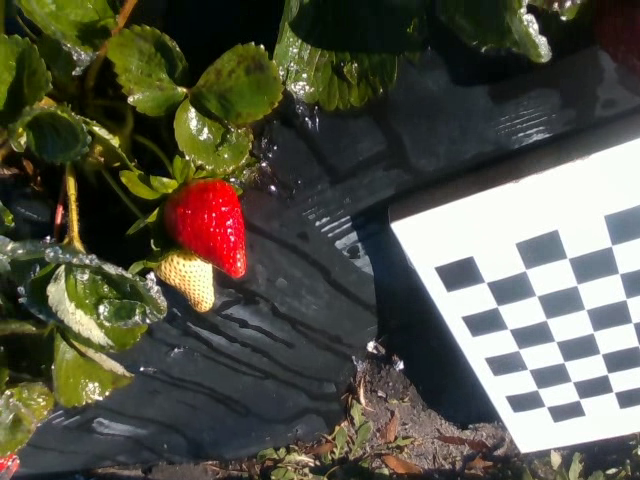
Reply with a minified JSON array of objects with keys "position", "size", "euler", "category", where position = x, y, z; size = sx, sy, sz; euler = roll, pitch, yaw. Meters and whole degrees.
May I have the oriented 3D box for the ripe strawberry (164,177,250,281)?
[{"position":[-0.055,-0.003,0.324],"size":[0.043,0.061,0.046],"euler":[-32,-9,29],"category":"ripe strawberry"}]
